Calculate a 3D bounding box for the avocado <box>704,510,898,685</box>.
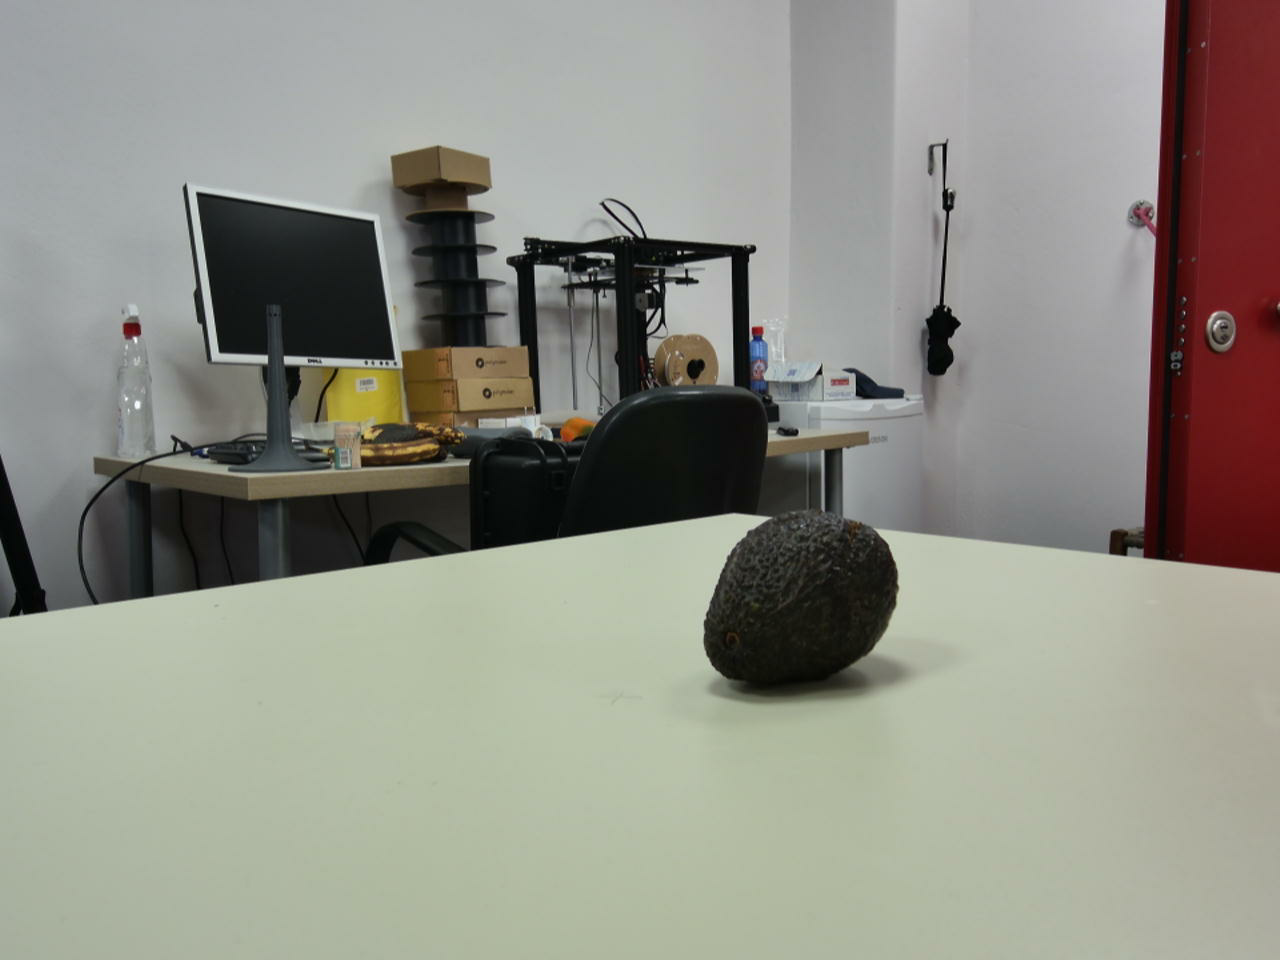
[{"bbox_3d":[0.067,0.048,0.426,0.090,0.069,0.070,-1,3,-15],"label":"avocado"}]
